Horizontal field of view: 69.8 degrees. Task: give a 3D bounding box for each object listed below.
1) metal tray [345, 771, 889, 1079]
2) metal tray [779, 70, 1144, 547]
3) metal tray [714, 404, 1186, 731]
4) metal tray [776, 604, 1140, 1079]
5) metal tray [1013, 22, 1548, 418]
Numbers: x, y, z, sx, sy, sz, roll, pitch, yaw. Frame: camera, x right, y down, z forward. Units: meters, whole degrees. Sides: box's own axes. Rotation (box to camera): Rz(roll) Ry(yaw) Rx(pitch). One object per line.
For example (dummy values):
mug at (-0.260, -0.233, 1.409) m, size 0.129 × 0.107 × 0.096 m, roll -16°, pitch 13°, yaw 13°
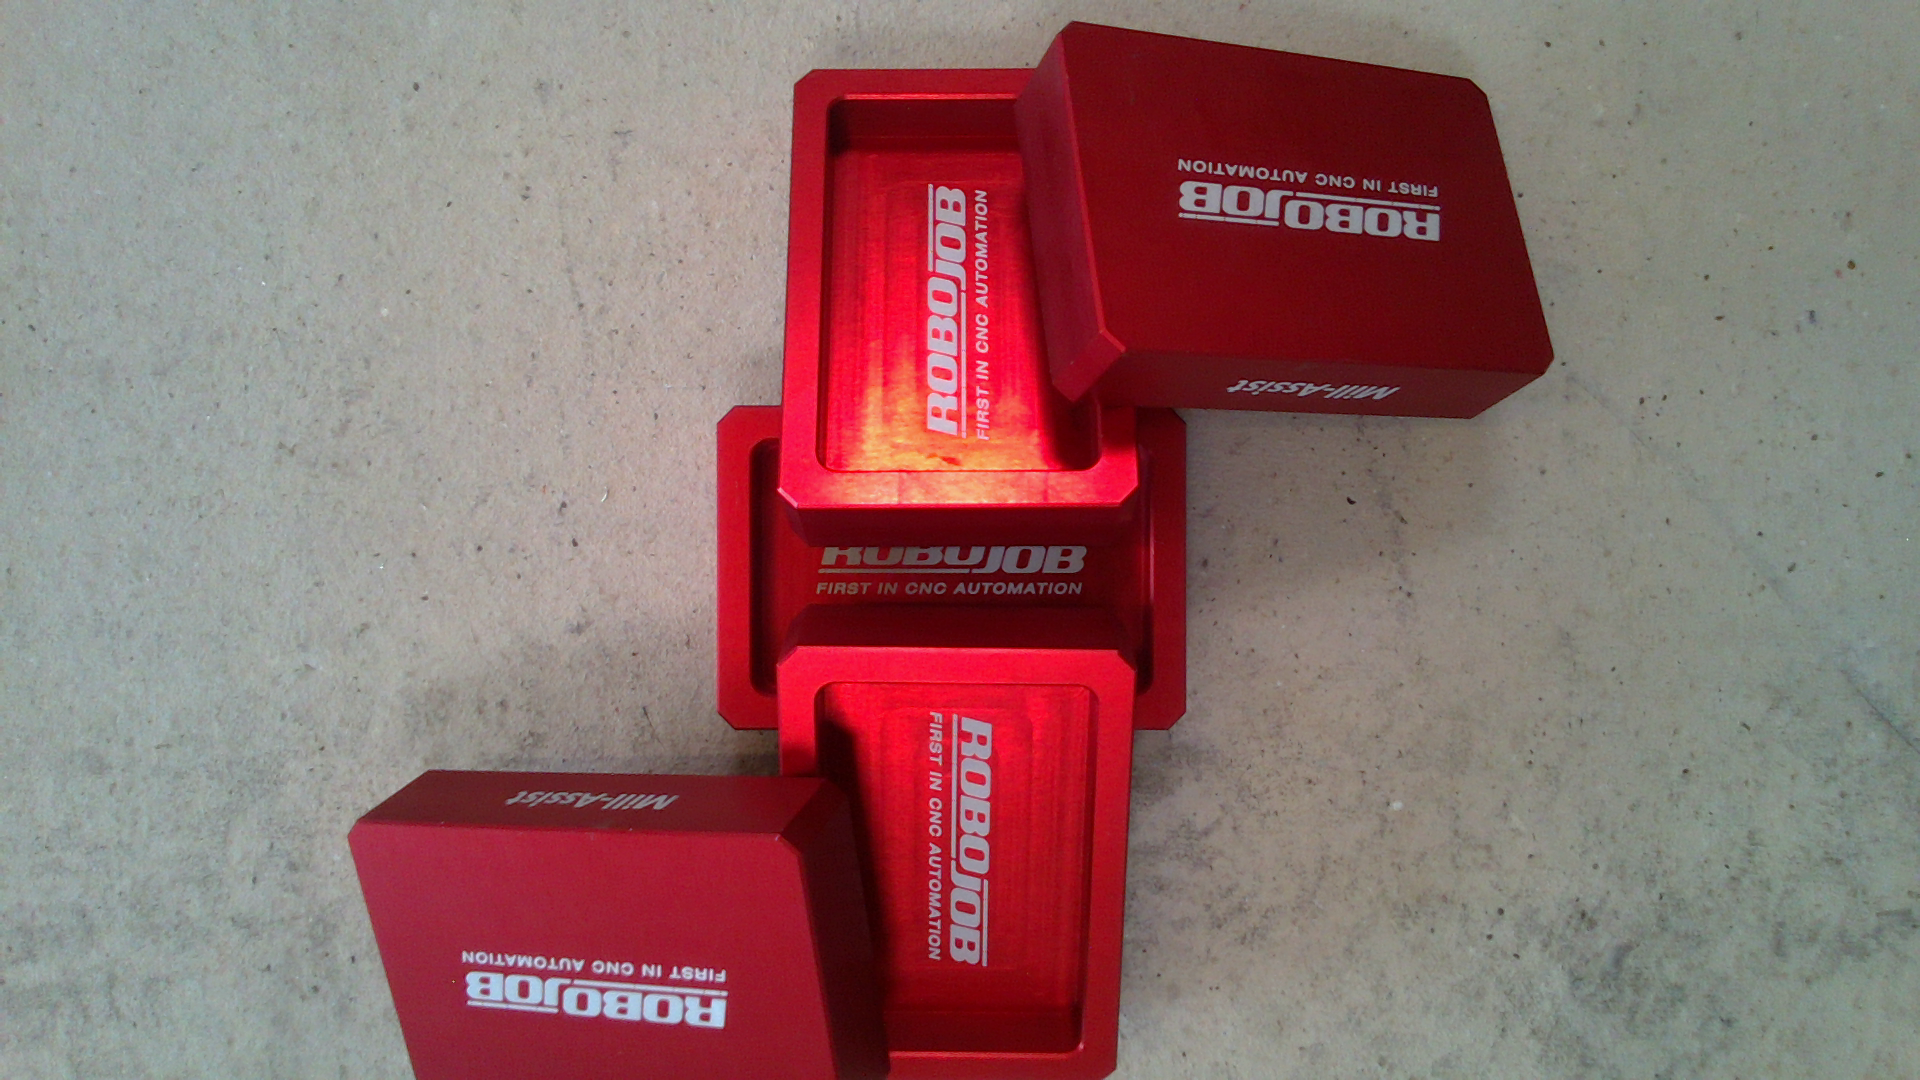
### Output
metal tray at (-0.090, 0.109, 0.364) m, size 0.130 × 0.030 × 0.090 m, roll -2°, pitch 107°, yaw 18°
metal tray at (0.000, -0.064, 0.373) m, size 0.090 × 0.030 × 0.130 m, roll 0°, pitch 70°, yaw 0°
metal tray at (-0.003, 0.007, 0.393) m, size 0.130 × 0.030 × 0.090 m, roll 0°, pitch 90°, yaw 0°
metal tray at (-0.001, 0.084, 0.373) m, size 0.090 × 0.030 × 0.130 m, roll 1°, pitch 109°, yaw 0°
metal tray at (0.084, -0.081, 0.361) m, size 0.130 × 0.030 × 0.090 m, roll 0°, pitch 71°, yaw -21°
